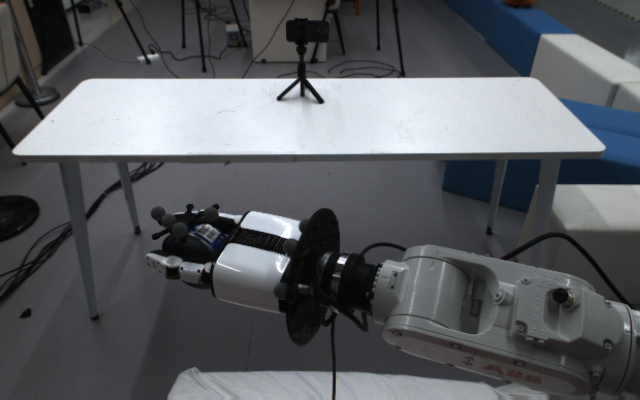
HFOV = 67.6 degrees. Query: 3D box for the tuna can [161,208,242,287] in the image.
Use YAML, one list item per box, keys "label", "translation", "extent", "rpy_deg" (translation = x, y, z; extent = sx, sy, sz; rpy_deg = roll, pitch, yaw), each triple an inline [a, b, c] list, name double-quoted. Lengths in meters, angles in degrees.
- label: "tuna can"
  translation: [-0.149, 0.069, 0.604]
  extent: [0.085, 0.085, 0.034]
  rpy_deg: [14, 33, 17]
